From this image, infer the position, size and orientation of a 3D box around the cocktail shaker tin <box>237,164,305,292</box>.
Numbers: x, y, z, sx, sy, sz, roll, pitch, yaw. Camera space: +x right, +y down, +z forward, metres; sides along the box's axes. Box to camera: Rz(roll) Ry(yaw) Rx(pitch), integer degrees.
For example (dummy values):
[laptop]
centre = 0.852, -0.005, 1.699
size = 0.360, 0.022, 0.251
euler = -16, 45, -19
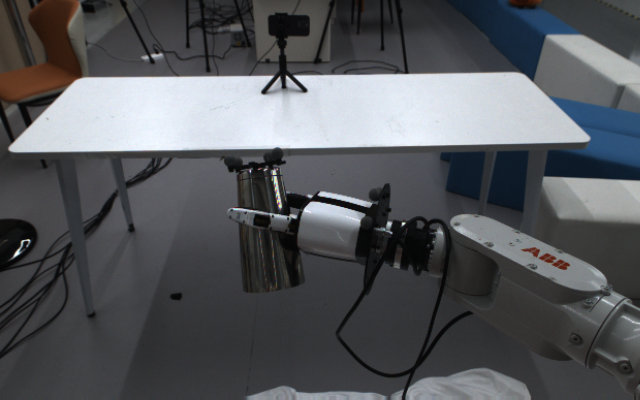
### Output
[cocktail shaker tin]
centre = -0.079, 0.042, 0.708
size = 0.093, 0.170, 0.093
euler = -8, 1, 0
